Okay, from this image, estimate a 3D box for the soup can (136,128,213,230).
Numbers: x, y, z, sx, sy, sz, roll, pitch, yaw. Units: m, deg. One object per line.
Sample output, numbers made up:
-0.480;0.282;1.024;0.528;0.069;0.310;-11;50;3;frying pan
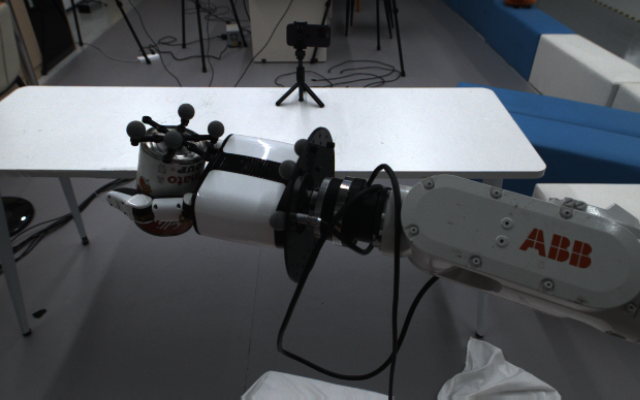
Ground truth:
-0.160;-0.019;0.519;0.067;0.101;0.067;14;35;-10;soup can
